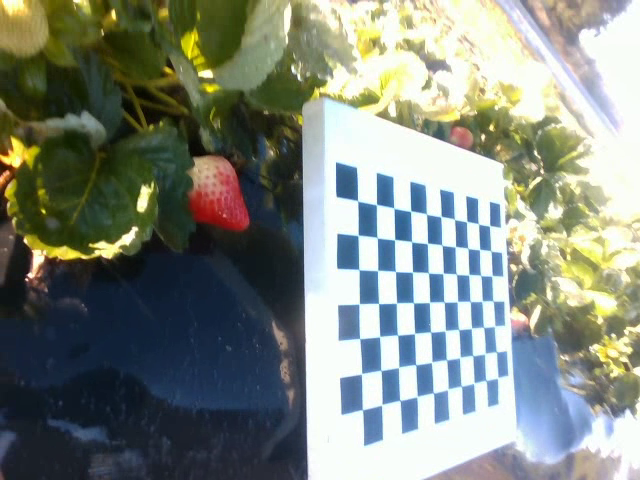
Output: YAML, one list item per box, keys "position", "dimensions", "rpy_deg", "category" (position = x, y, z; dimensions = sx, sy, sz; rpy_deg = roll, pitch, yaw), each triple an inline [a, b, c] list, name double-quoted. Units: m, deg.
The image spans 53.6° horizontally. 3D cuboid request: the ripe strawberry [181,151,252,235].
- position: [-0.064, -0.025, 0.400]
  dimensions: [0.040, 0.040, 0.065]
  rpy_deg: [-8, -50, 38]
  category: "ripe strawberry"
